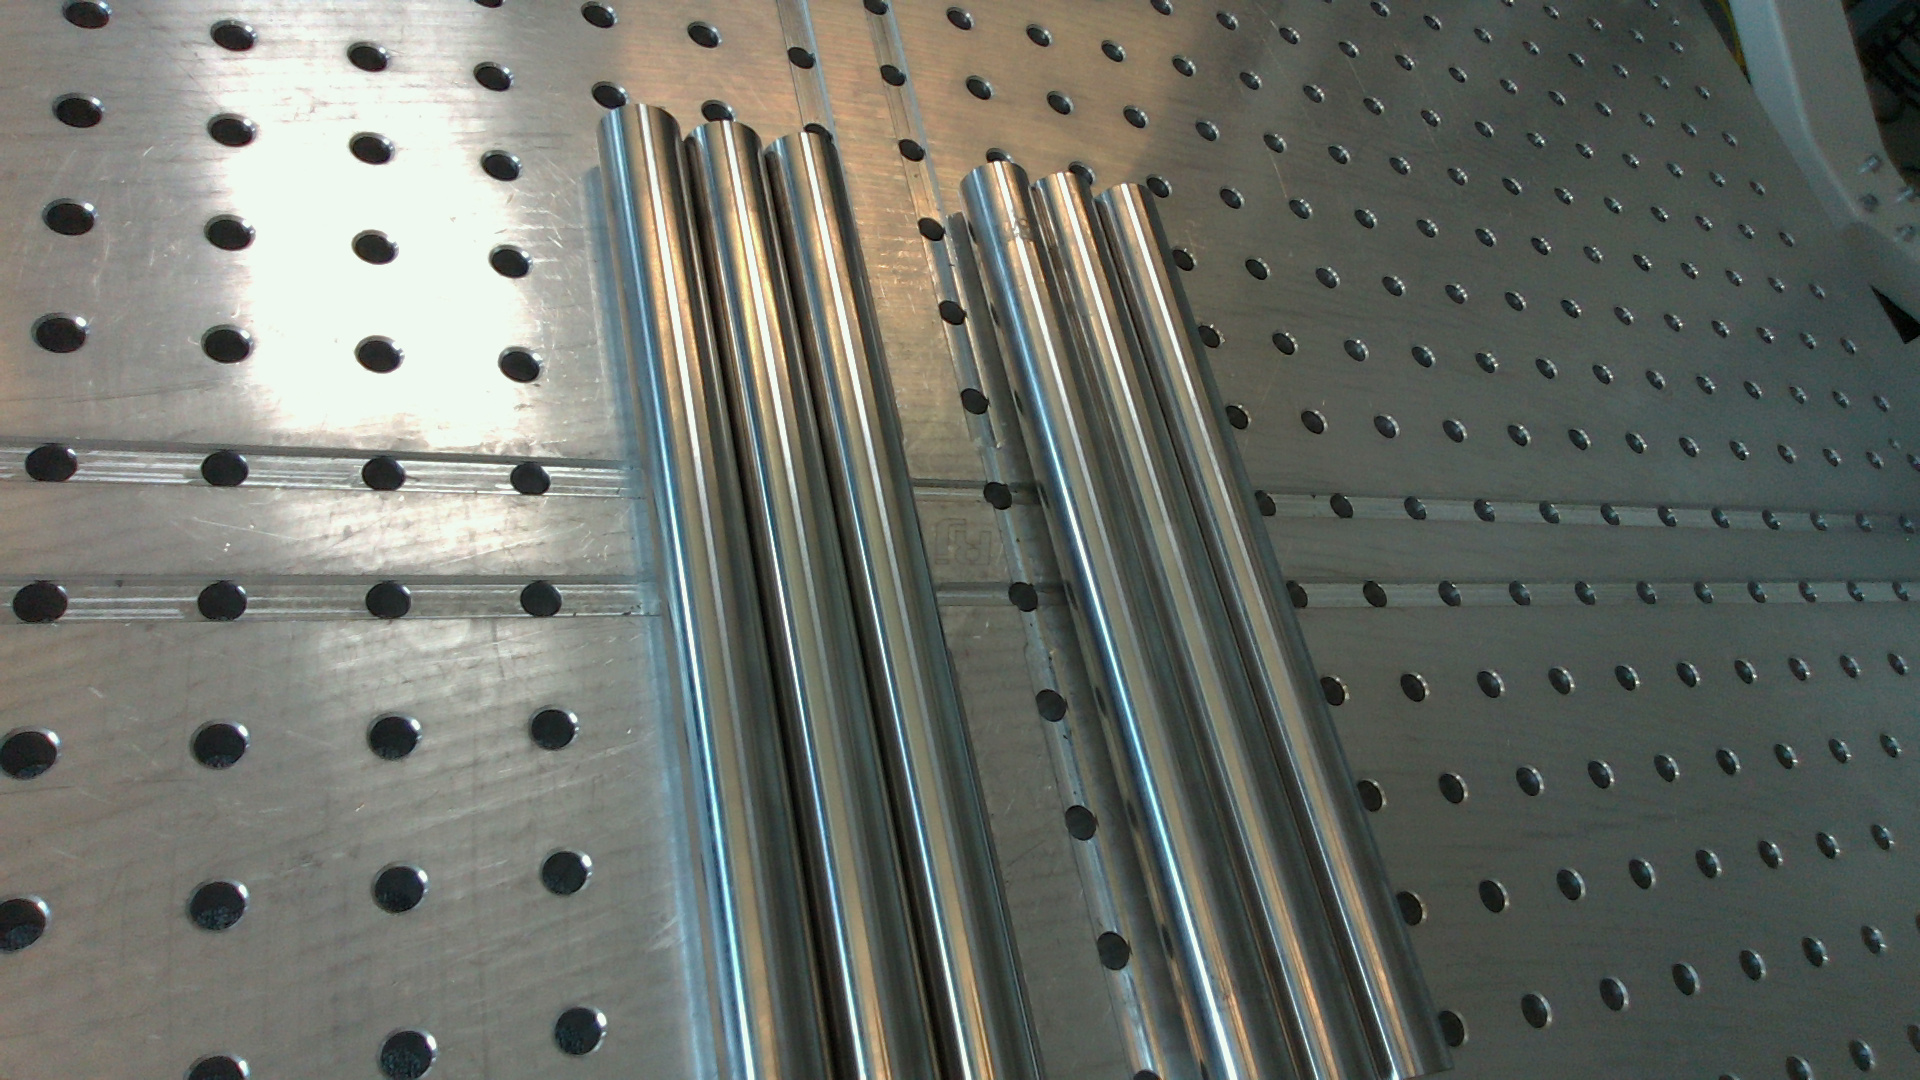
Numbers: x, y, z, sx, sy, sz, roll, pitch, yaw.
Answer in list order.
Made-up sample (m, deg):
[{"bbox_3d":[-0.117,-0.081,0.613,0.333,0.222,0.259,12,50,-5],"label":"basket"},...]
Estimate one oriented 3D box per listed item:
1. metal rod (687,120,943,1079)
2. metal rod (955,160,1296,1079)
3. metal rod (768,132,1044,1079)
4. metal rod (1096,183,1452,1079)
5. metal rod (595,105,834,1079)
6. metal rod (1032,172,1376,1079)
[{"bbox_3d":[-0.043,0.011,0.362,0.025,0.025,0.300,1,61,-28],"label":"metal rod"},{"bbox_3d":[0.042,0.011,0.408,0.025,0.025,0.300,1,61,-28],"label":"metal rod"},{"bbox_3d":[-0.021,0.011,0.374,0.025,0.025,0.300,1,61,-28],"label":"metal rod"},{"bbox_3d":[0.088,0.012,0.432,0.025,0.025,0.300,1,61,-28],"label":"metal rod"},{"bbox_3d":[-0.066,0.010,0.350,0.025,0.025,0.300,1,61,-28],"label":"metal rod"},{"bbox_3d":[0.064,0.011,0.419,0.025,0.025,0.300,1,61,-28],"label":"metal rod"}]
